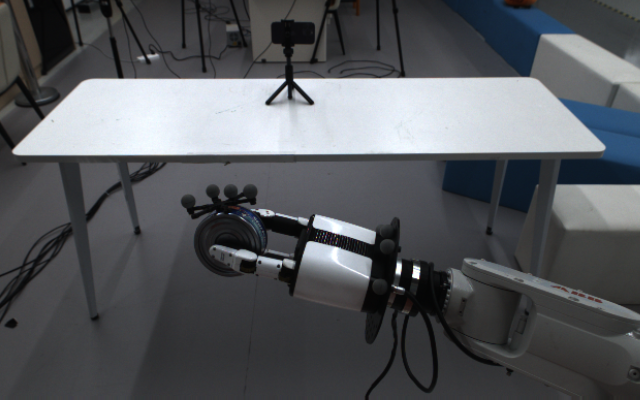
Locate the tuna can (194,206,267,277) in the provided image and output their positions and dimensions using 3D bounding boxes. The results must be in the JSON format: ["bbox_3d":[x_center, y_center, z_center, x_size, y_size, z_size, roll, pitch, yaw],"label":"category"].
[{"bbox_3d":[-0.106,0.057,0.595,0.085,0.085,0.034,6,18,5],"label":"tuna can"}]
